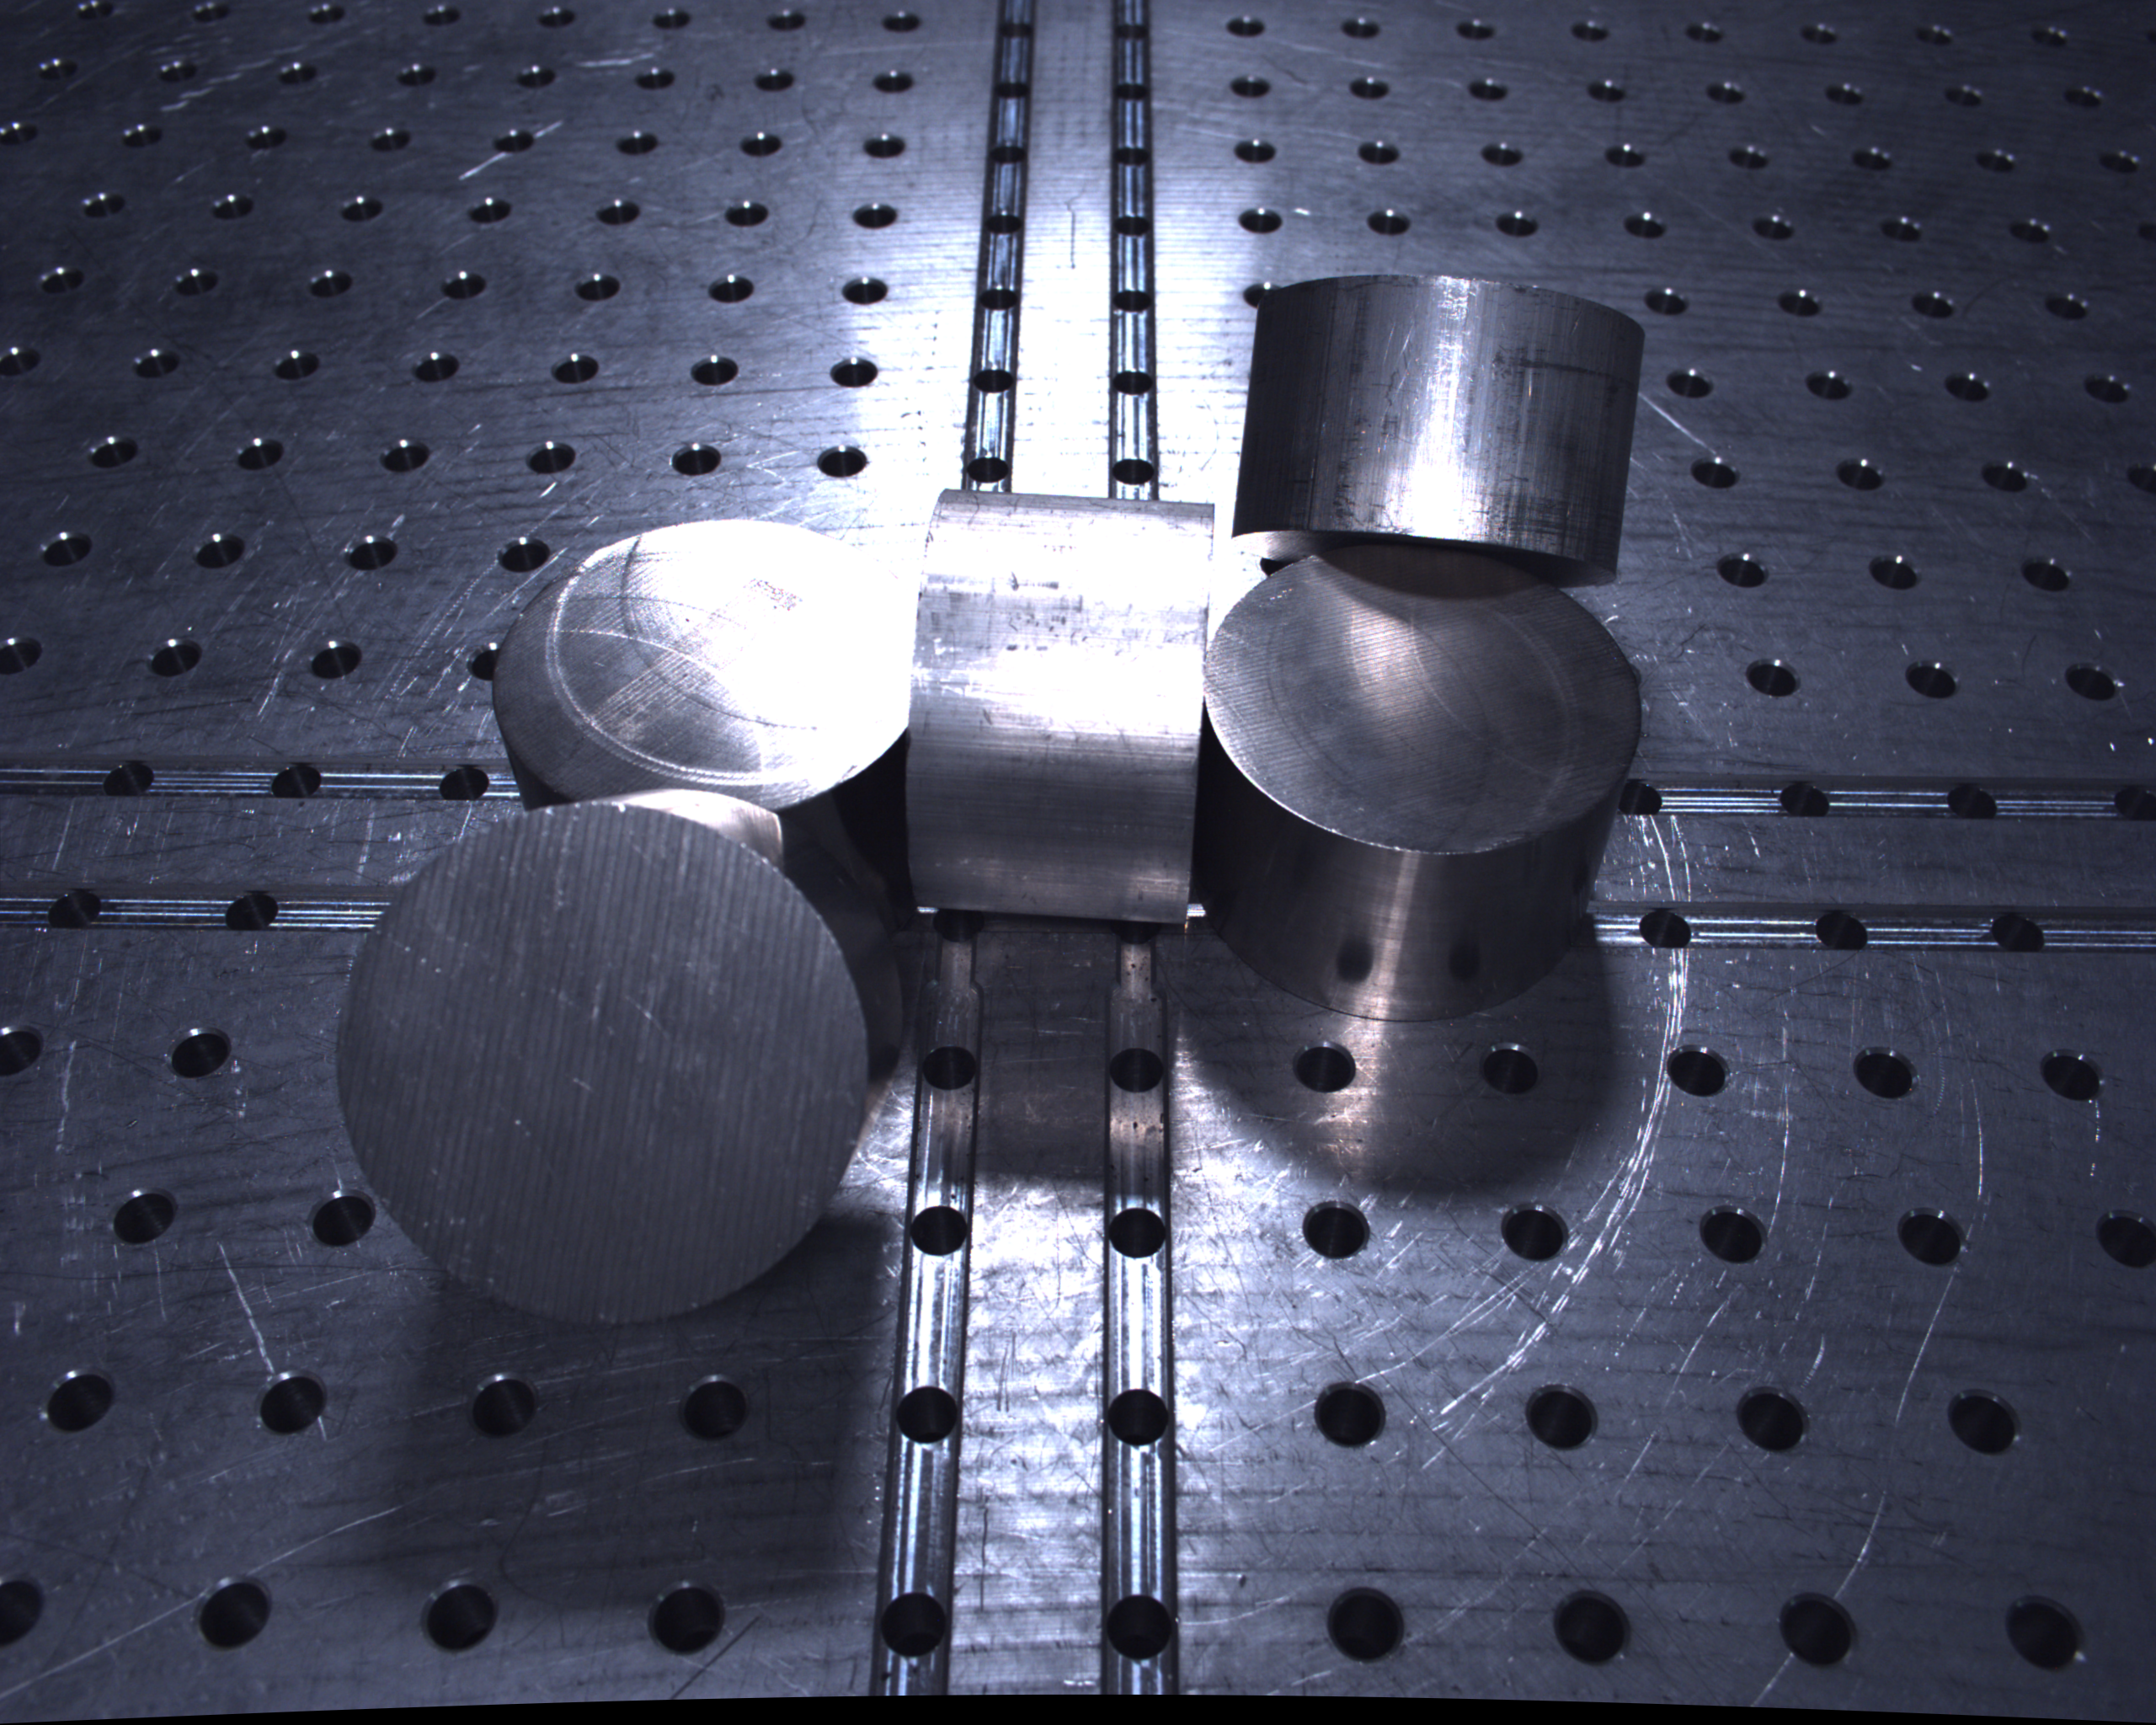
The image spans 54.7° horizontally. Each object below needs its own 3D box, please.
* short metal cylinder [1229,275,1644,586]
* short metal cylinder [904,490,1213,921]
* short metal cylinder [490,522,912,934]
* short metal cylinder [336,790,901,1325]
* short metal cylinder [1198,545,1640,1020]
[{"bbox_3d":[0.075,-0.088,0.438,0.080,0.080,0.050,7,92,5],"label":"short metal cylinder"},{"bbox_3d":[-0.002,-0.029,0.396,0.050,0.080,0.080,4,50,3],"label":"short metal cylinder"},{"bbox_3d":[-0.069,-0.021,0.407,0.081,0.050,0.080,0,50,0],"label":"short metal cylinder"},{"bbox_3d":[-0.071,0.029,0.339,0.081,0.050,0.079,0,94,1],"label":"short metal cylinder"},{"bbox_3d":[0.063,-0.016,0.405,0.081,0.050,0.080,0,50,0],"label":"short metal cylinder"}]
